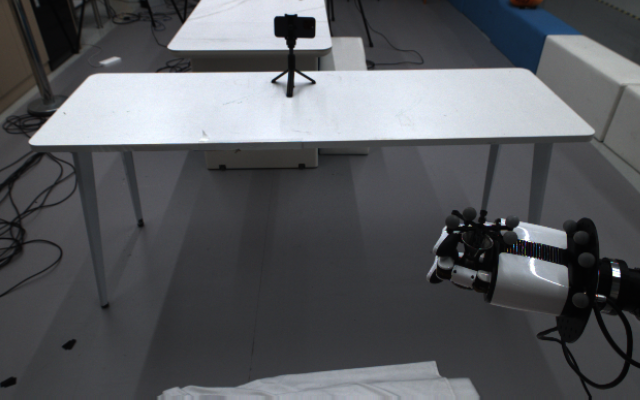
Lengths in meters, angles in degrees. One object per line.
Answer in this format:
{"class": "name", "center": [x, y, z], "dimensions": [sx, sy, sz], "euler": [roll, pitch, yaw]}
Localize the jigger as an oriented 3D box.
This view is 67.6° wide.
{"class": "jigger", "center": [0.203, 0.078, 0.644], "dimensions": [0.043, 0.071, 0.043], "euler": [4, 31, -2]}
